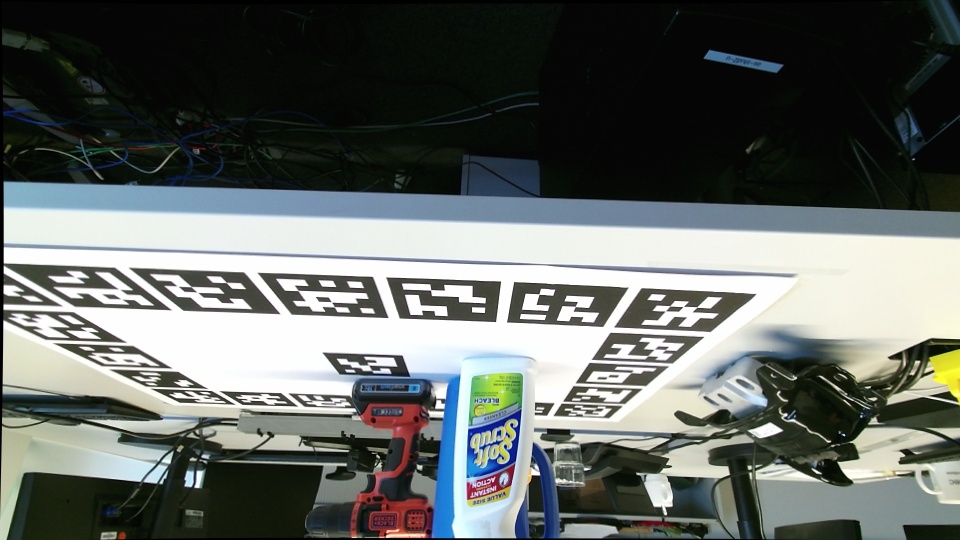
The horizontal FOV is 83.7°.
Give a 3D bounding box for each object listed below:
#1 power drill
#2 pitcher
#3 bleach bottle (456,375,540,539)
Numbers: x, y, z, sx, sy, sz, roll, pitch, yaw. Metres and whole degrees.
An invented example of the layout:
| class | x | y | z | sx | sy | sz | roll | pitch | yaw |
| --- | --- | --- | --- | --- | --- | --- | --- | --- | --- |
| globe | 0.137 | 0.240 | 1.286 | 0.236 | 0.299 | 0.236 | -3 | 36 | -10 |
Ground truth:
| class | x | y | z | sx | sy | sz | roll | pitch | yaw |
| --- | --- | --- | --- | --- | --- | --- | --- | --- | --- |
| power drill | -0.156 | 0.281 | 0.745 | 0.185 | 0.186 | 0.057 | 3 | 148 | 8 |
| pitcher | 0.012 | 0.284 | 0.723 | 0.189 | 0.241 | 0.134 | -13 | 146 | 23 |
| bleach bottle | 0.024 | 0.252 | 0.625 | 0.103 | 0.249 | 0.068 | -3 | 150 | 7 |
